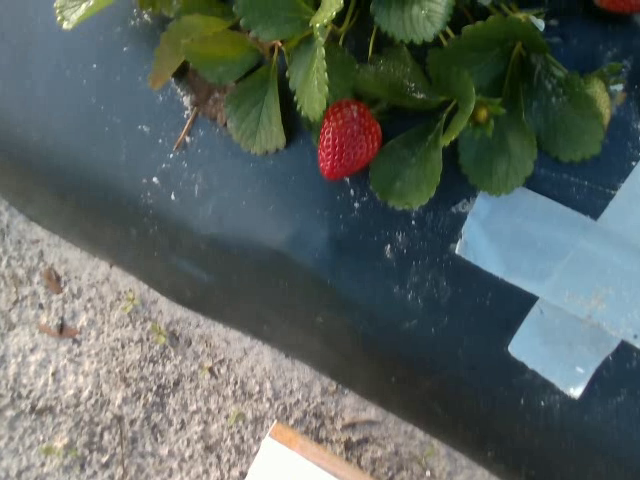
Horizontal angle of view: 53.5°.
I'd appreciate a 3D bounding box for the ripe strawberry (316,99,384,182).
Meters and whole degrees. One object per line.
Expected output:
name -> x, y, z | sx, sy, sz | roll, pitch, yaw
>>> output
ripe strawberry -> 0.006, -0.026, 0.169 | 0.018, 0.023, 0.020 | 27, -5, 28
